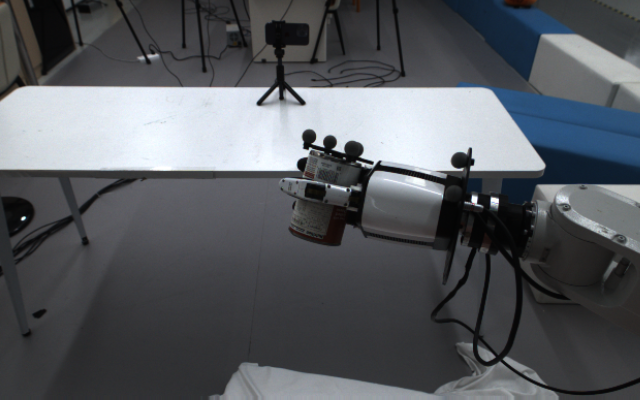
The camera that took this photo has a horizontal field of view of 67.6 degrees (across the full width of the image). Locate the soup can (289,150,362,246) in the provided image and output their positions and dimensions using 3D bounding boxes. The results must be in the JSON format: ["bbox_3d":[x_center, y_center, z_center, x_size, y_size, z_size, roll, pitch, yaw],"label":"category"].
[{"bbox_3d":[0.008,-0.003,0.588,0.067,0.101,0.067,15,7,-2],"label":"soup can"}]
